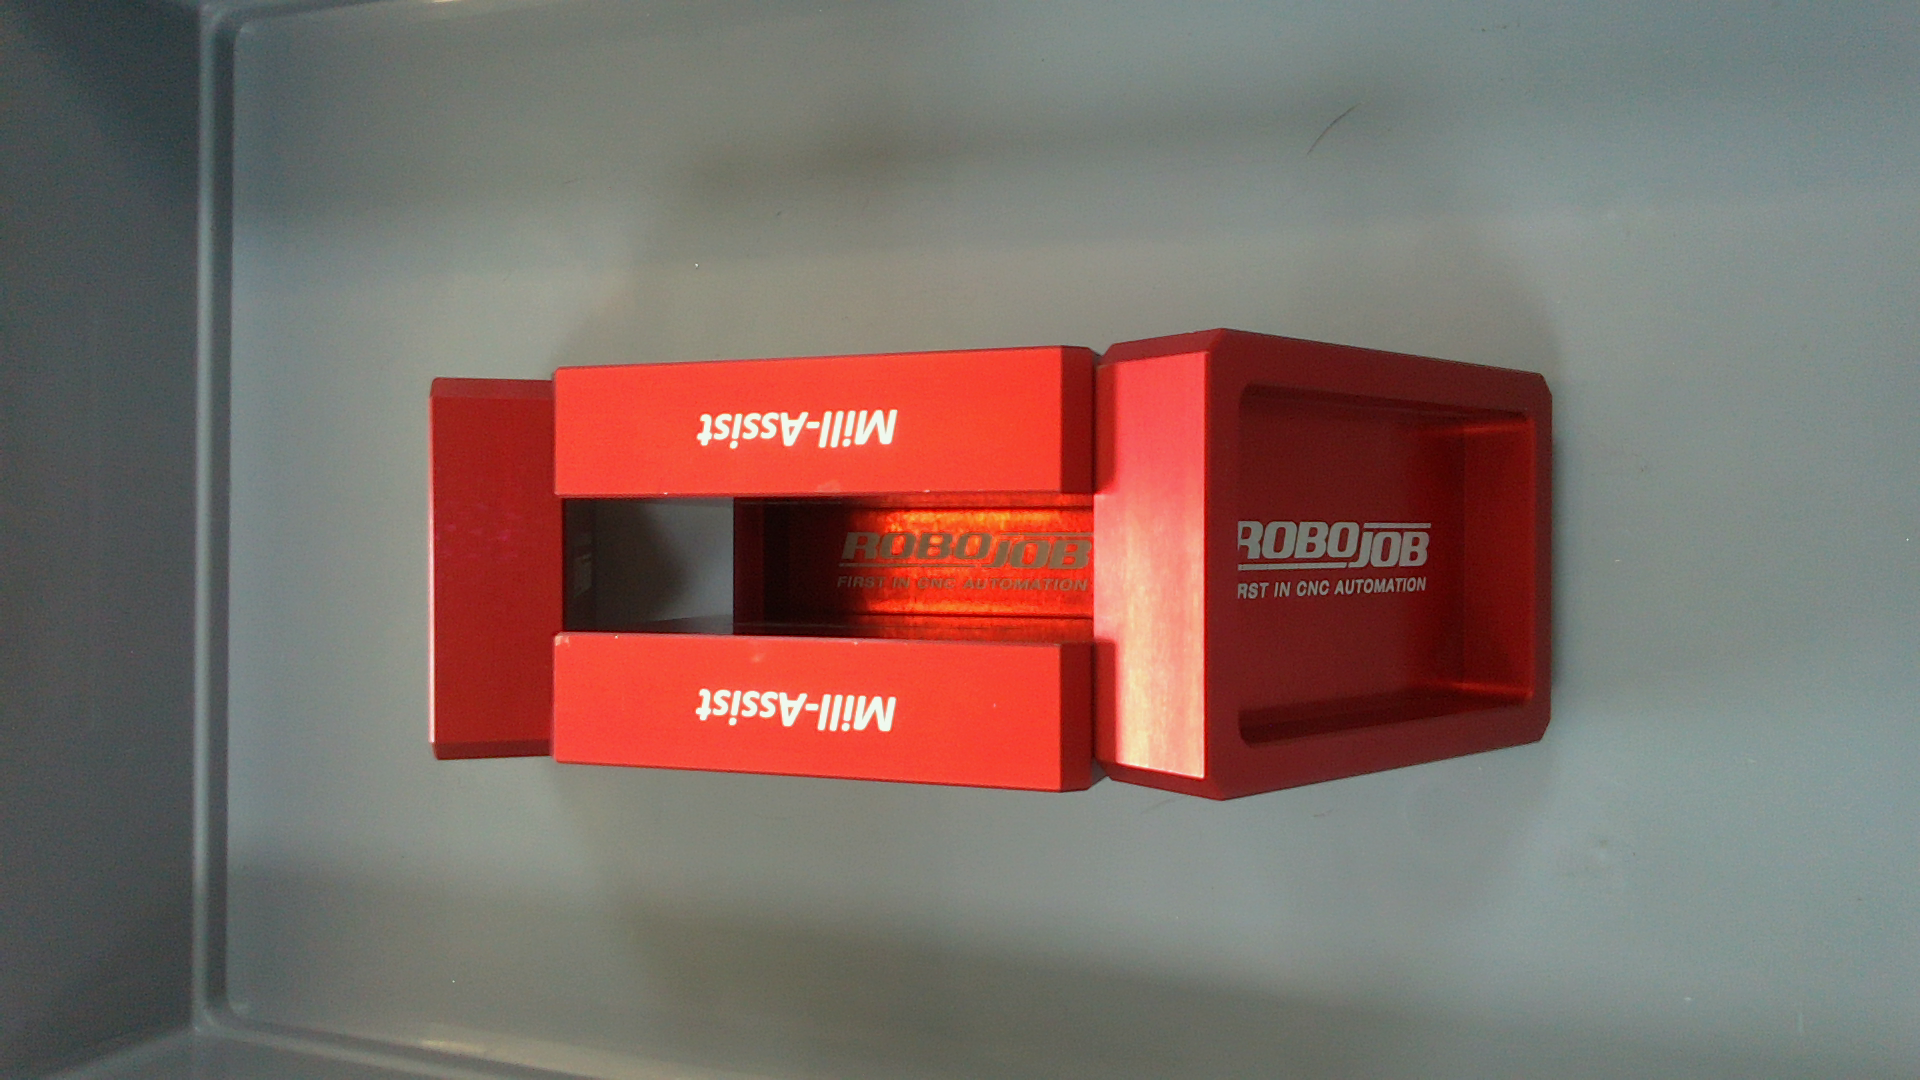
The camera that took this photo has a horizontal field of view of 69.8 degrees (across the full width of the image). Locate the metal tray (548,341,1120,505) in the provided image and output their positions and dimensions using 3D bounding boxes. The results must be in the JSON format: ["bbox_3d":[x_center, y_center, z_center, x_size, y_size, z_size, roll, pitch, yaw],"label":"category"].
[{"bbox_3d":[-0.021,-0.025,0.335,0.130,0.090,0.030,0,90,20],"label":"metal tray"}]

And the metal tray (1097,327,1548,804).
[{"bbox_3d":[0.086,0.004,0.309,0.030,0.131,0.090,1,91,49],"label":"metal tray"}]

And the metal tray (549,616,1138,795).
[{"bbox_3d":[-0.021,0.036,0.335,0.130,0.090,0.030,0,90,20],"label":"metal tray"}]

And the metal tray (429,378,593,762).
[{"bbox_3d":[-0.121,0.006,0.384,0.030,0.130,0.090,0,91,-12],"label":"metal tray"}]

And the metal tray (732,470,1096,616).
[{"bbox_3d":[-0.001,0.006,0.393,0.130,0.030,0.090,0,90,19],"label":"metal tray"}]
